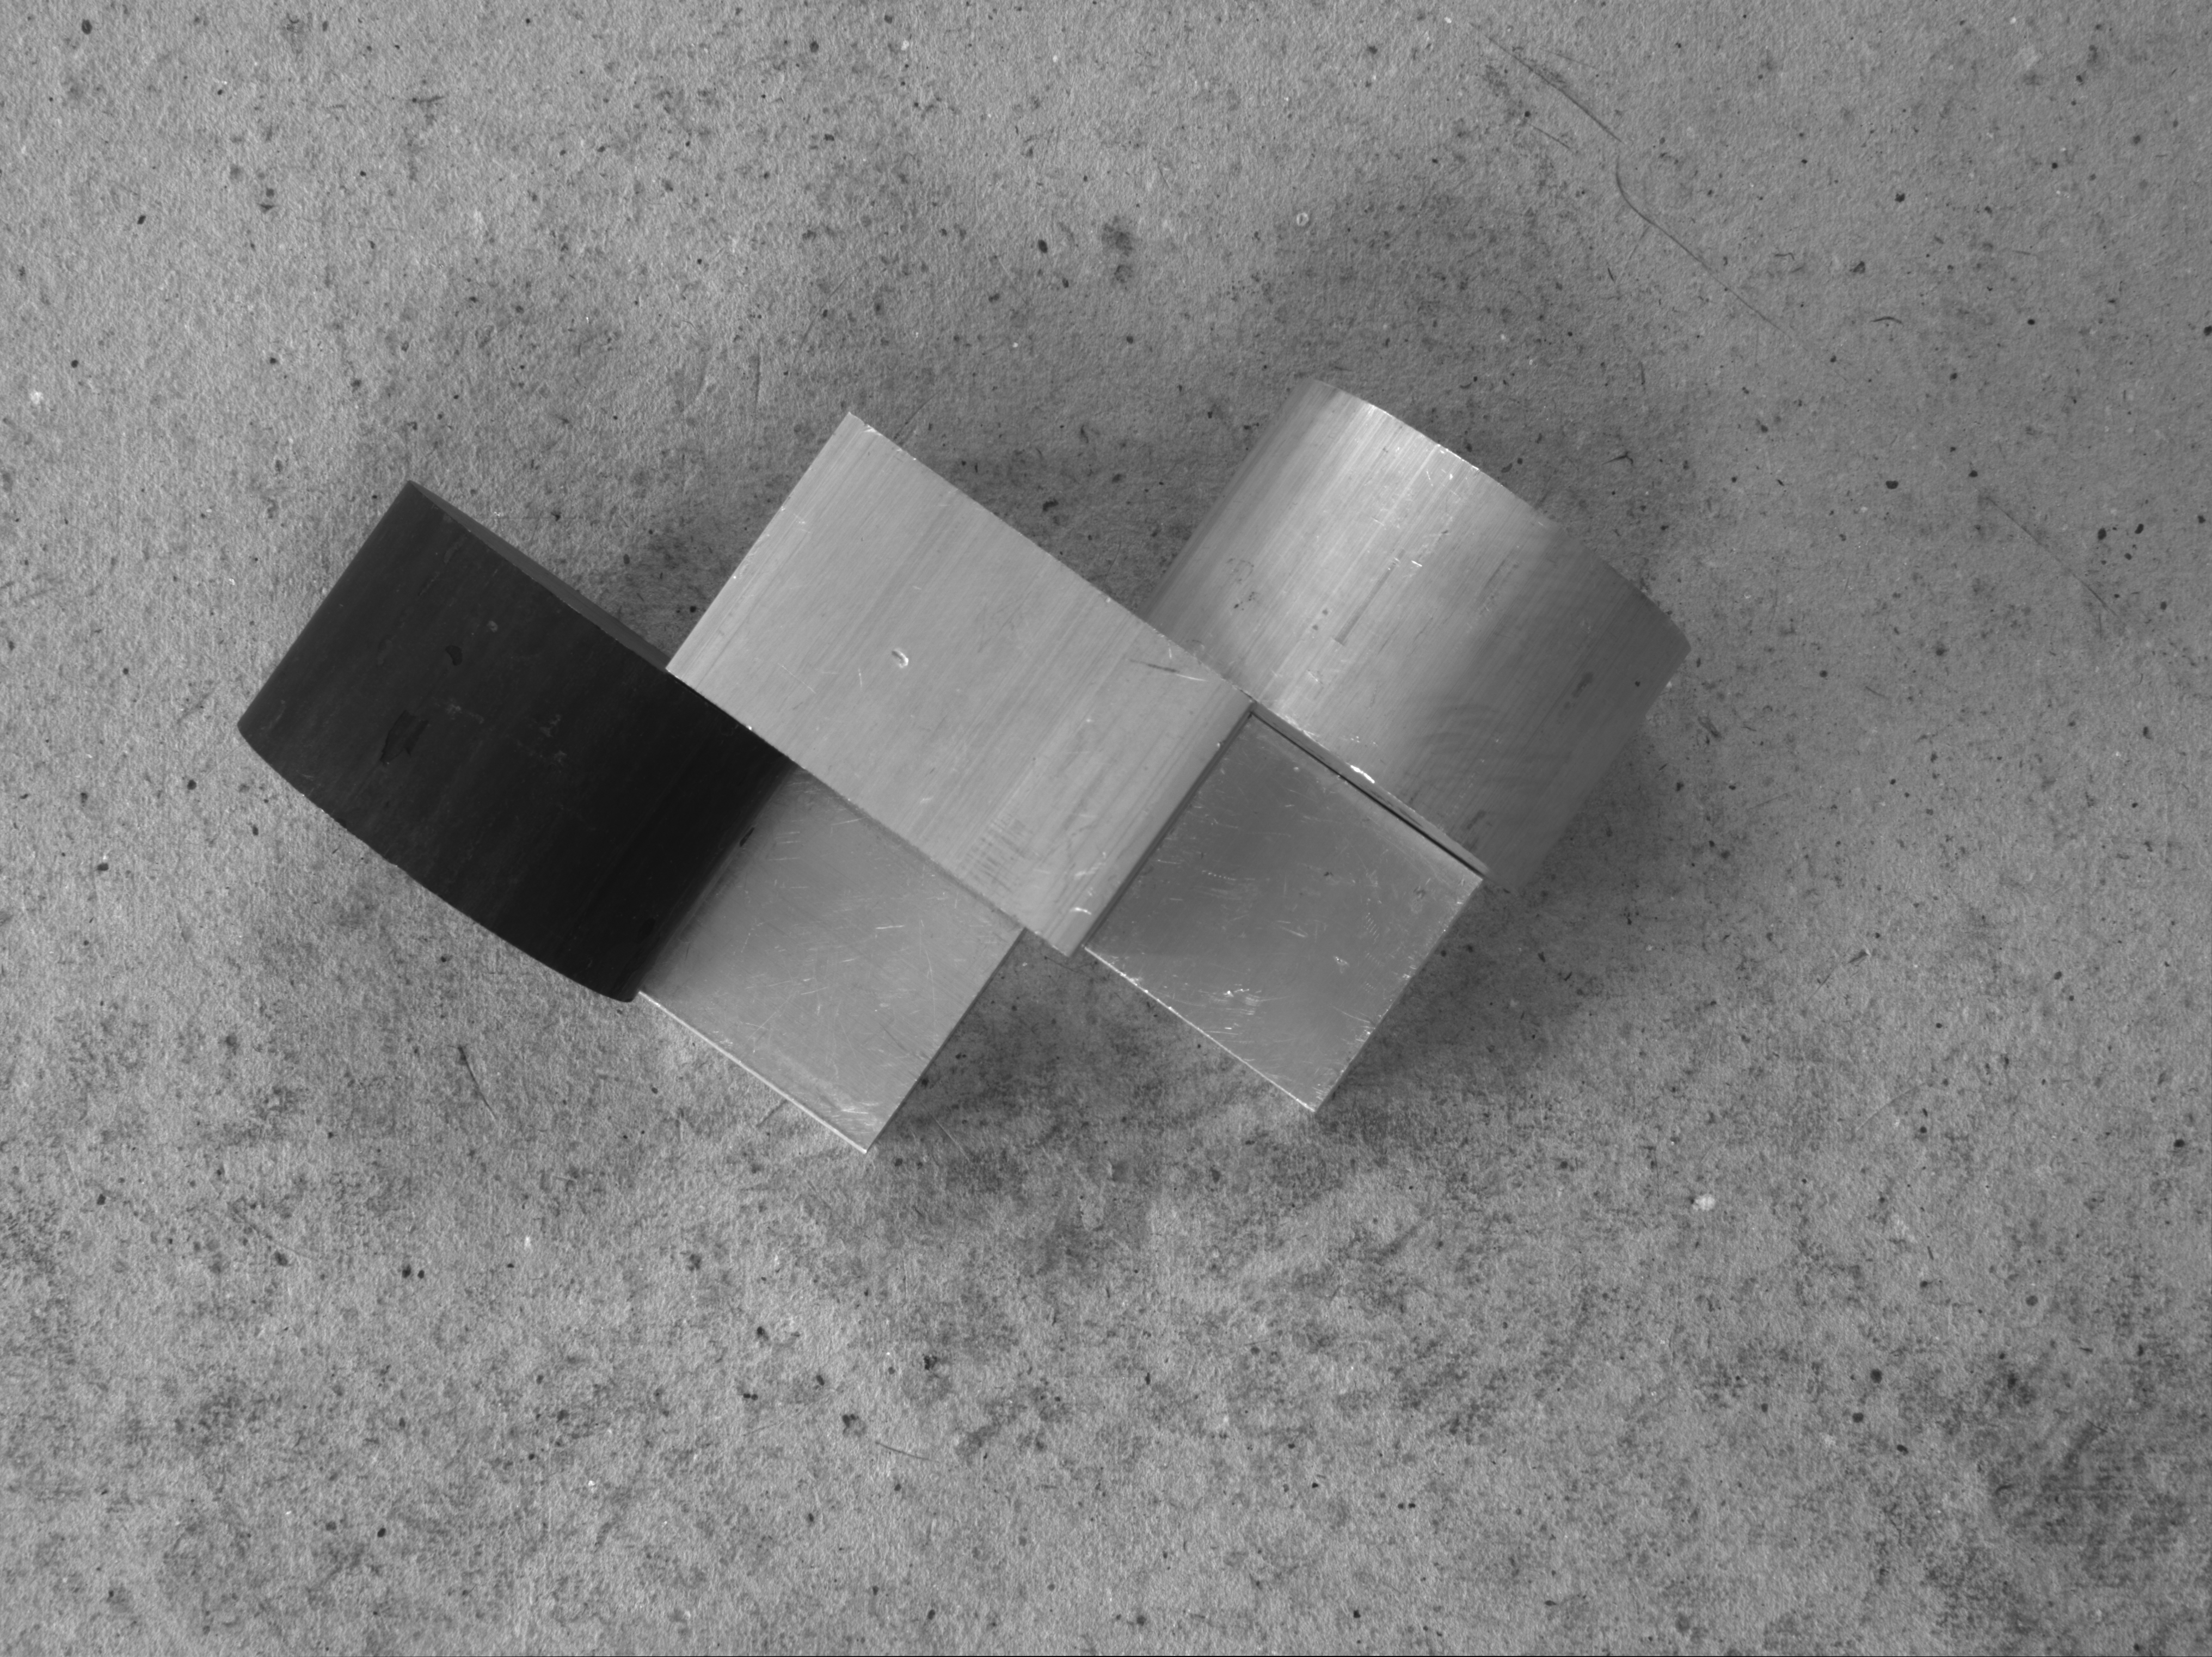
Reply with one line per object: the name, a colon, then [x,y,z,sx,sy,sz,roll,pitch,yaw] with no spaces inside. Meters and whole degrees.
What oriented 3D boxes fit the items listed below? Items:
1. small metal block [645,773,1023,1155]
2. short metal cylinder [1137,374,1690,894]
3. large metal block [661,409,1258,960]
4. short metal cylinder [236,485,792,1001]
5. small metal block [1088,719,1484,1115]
small metal block: [-0.048,0.022,0.647,0.050,0.025,0.050,35,90,0]
short metal cylinder: [0.051,-0.032,0.619,0.080,0.080,0.050,35,90,0]
large metal block: [-0.023,-0.023,0.619,0.080,0.080,0.050,35,90,0]
short metal cylinder: [-0.098,-0.015,0.619,0.080,0.080,0.050,35,90,0]
small metal block: [0.030,0.015,0.647,0.050,0.025,0.050,35,90,0]
